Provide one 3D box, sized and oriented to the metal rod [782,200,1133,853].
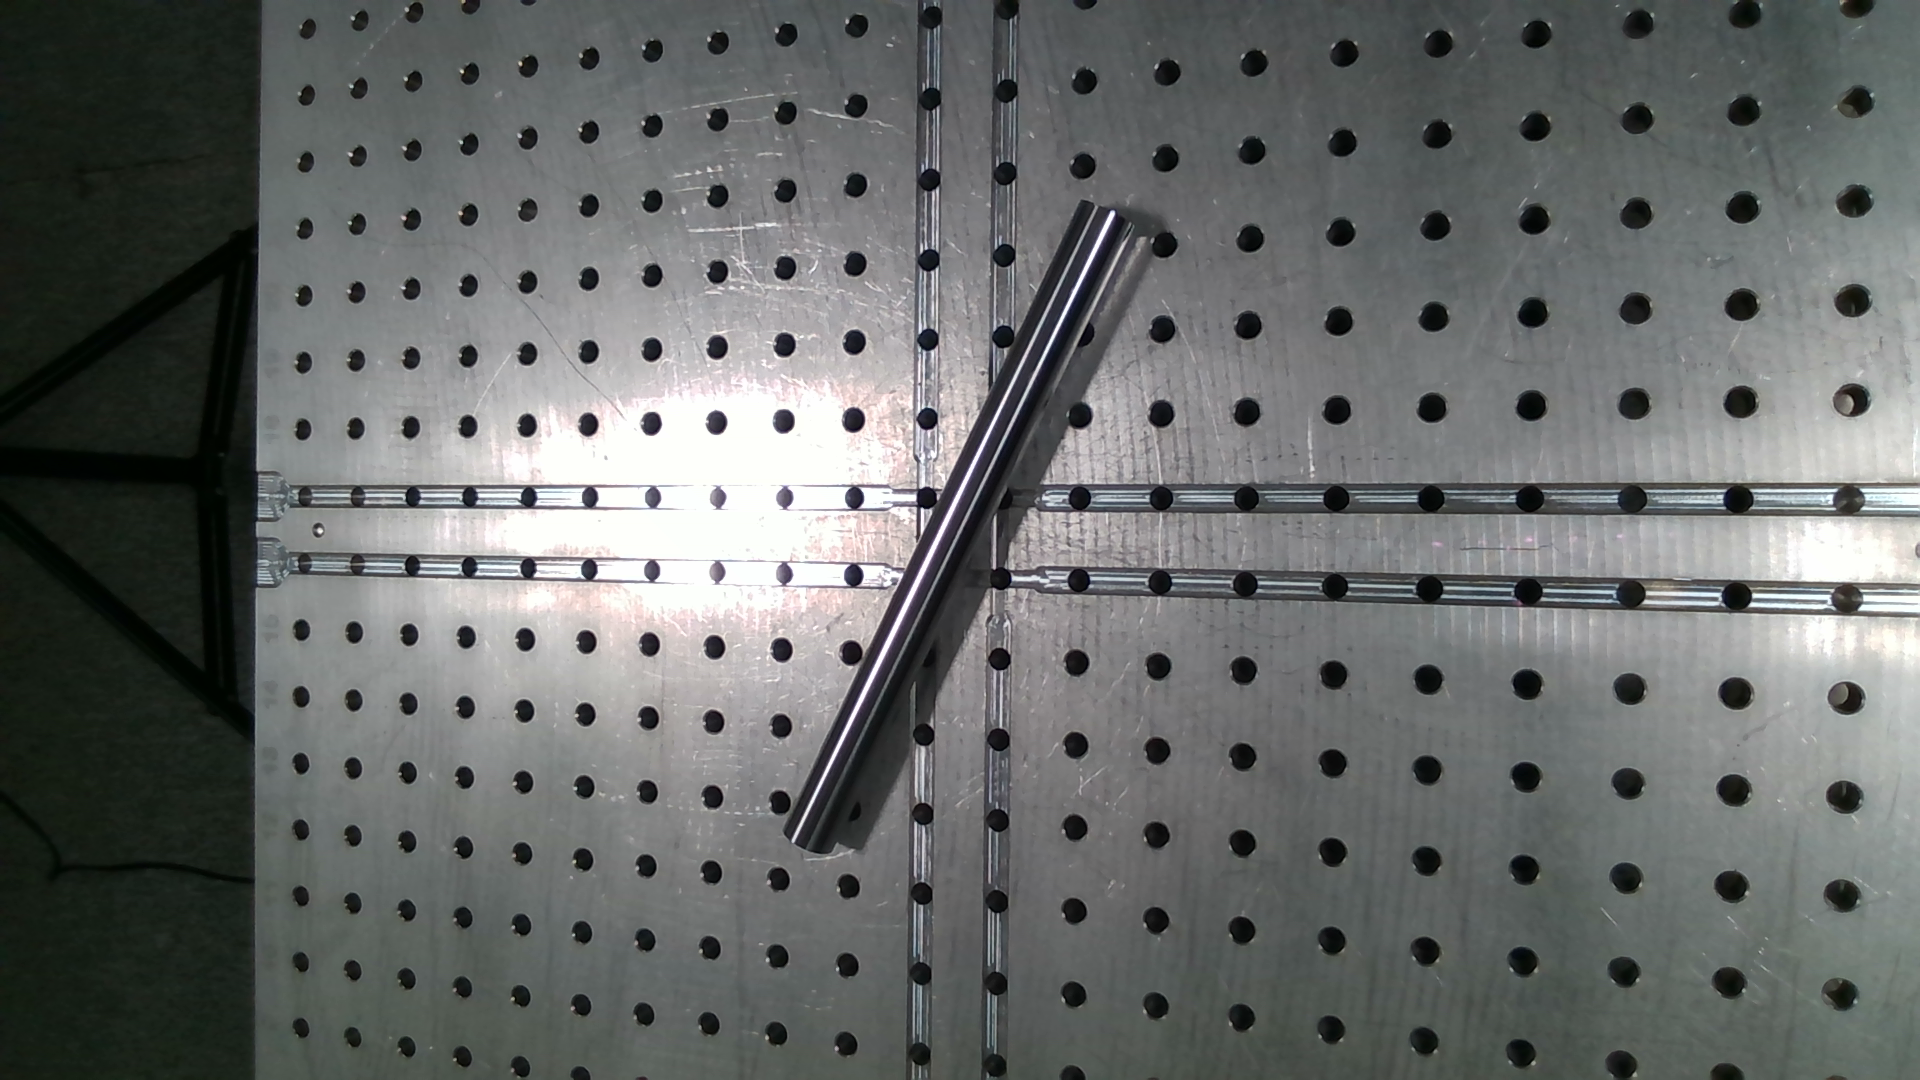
[{"bbox_3d":[-0.004,-0.001,0.590,0.025,0.025,0.300,29,100,18],"label":"metal rod"}]
